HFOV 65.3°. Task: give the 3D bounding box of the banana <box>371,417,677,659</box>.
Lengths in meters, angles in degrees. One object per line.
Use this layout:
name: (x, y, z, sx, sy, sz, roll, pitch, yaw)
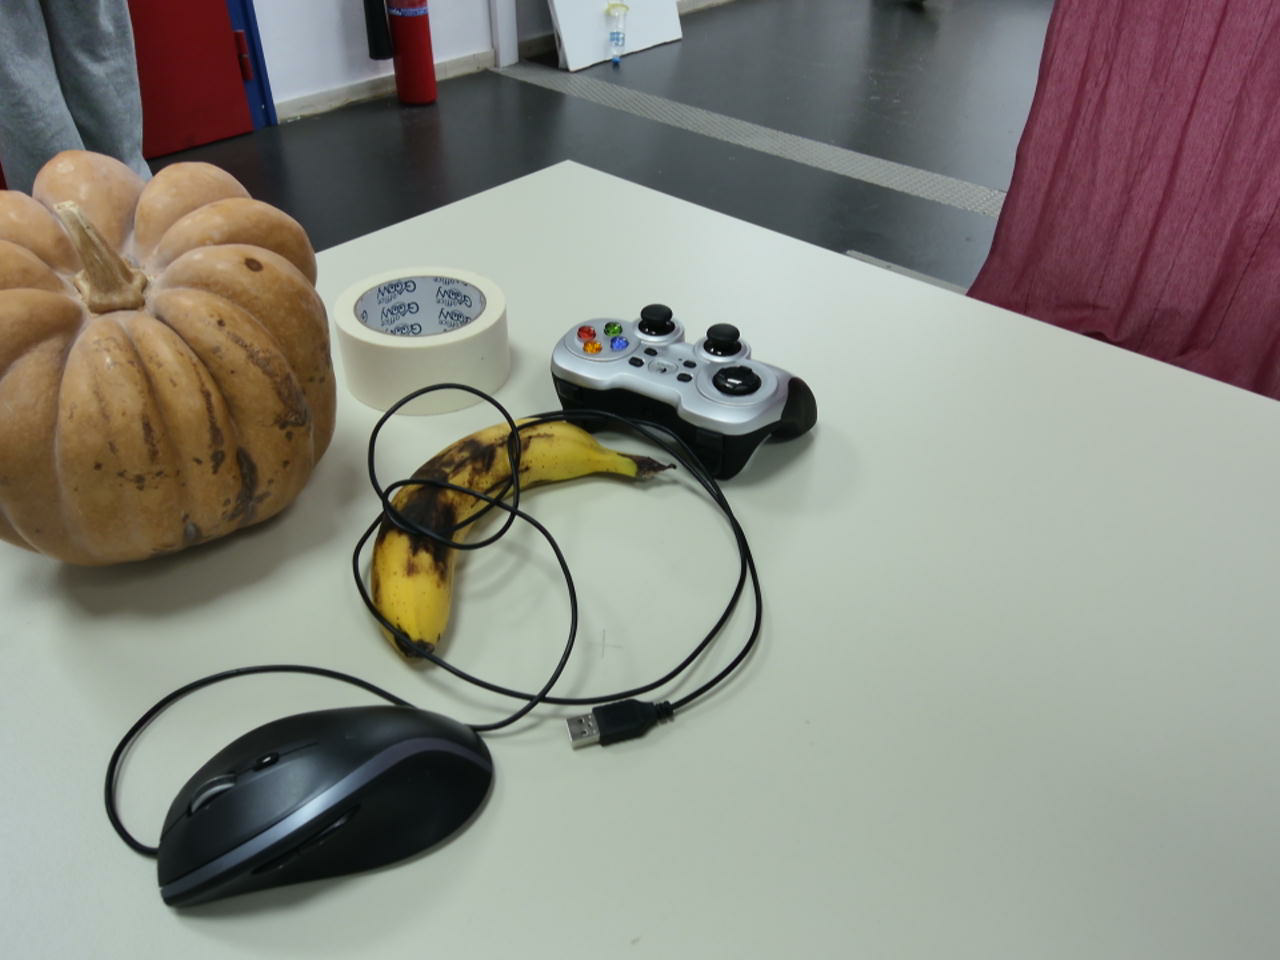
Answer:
banana: (-0.076, 0.013, 0.513, 0.094, 0.039, 0.187, 26, 43, 29)
